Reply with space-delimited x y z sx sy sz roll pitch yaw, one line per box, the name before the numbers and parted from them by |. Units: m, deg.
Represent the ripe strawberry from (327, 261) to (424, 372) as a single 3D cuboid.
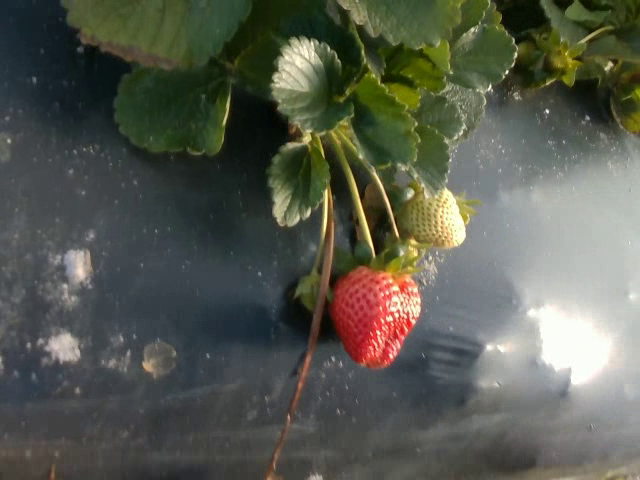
ripe strawberry | 0.029 0.038 0.264 0.048 0.050 0.035 9 1 -28
